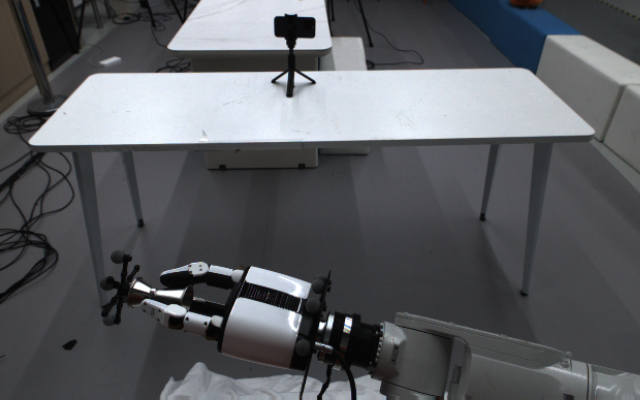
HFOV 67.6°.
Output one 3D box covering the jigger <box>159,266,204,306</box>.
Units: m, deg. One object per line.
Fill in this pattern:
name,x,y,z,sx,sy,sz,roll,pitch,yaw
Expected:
jigger,-0.191,0.119,0.606,0.071,0.043,0.043,10,35,3
